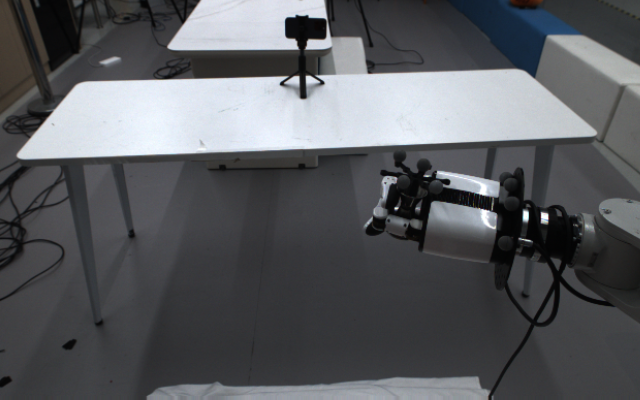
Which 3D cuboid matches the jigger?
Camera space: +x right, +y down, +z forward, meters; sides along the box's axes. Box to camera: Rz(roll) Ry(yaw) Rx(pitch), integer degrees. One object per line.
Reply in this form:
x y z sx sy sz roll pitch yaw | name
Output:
0.117 0.014 0.646 0.043 0.071 0.043 7 32 -4 | jigger
